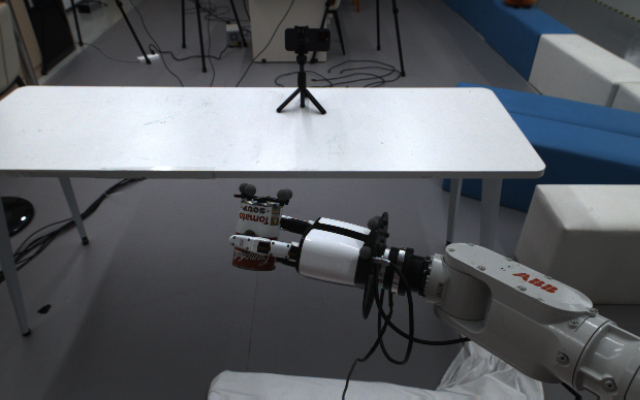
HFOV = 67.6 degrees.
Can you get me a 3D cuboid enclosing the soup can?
[{"bbox_3d":[-0.095,0.054,0.745,0.067,0.101,0.067,7,4,0],"label":"soup can"}]
